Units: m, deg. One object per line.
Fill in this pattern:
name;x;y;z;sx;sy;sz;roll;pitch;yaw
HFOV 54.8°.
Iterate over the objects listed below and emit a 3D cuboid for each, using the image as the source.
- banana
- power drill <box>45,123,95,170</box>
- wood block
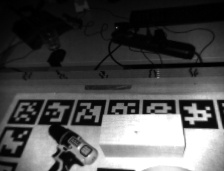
banana;0.142;0.210;0.523;0.195;0.039;0.074;13;67;19
power drill;-0.165;0.207;0.585;0.182;0.058;0.188;26;58;26
wood block;0.071;0.129;0.578;0.205;0.092;0.089;-2;50;10
